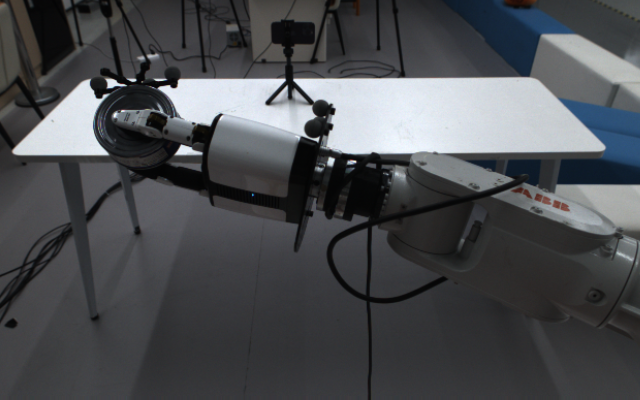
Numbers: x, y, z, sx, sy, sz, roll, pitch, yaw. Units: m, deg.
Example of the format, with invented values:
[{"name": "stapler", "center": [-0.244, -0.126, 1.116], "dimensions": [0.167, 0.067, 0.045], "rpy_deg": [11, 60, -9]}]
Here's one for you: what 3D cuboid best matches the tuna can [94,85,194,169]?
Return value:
[{"name": "tuna can", "center": [-0.187, -0.072, 0.509], "dimensions": [0.085, 0.034, 0.085], "rpy_deg": [0, 73, -2]}]
